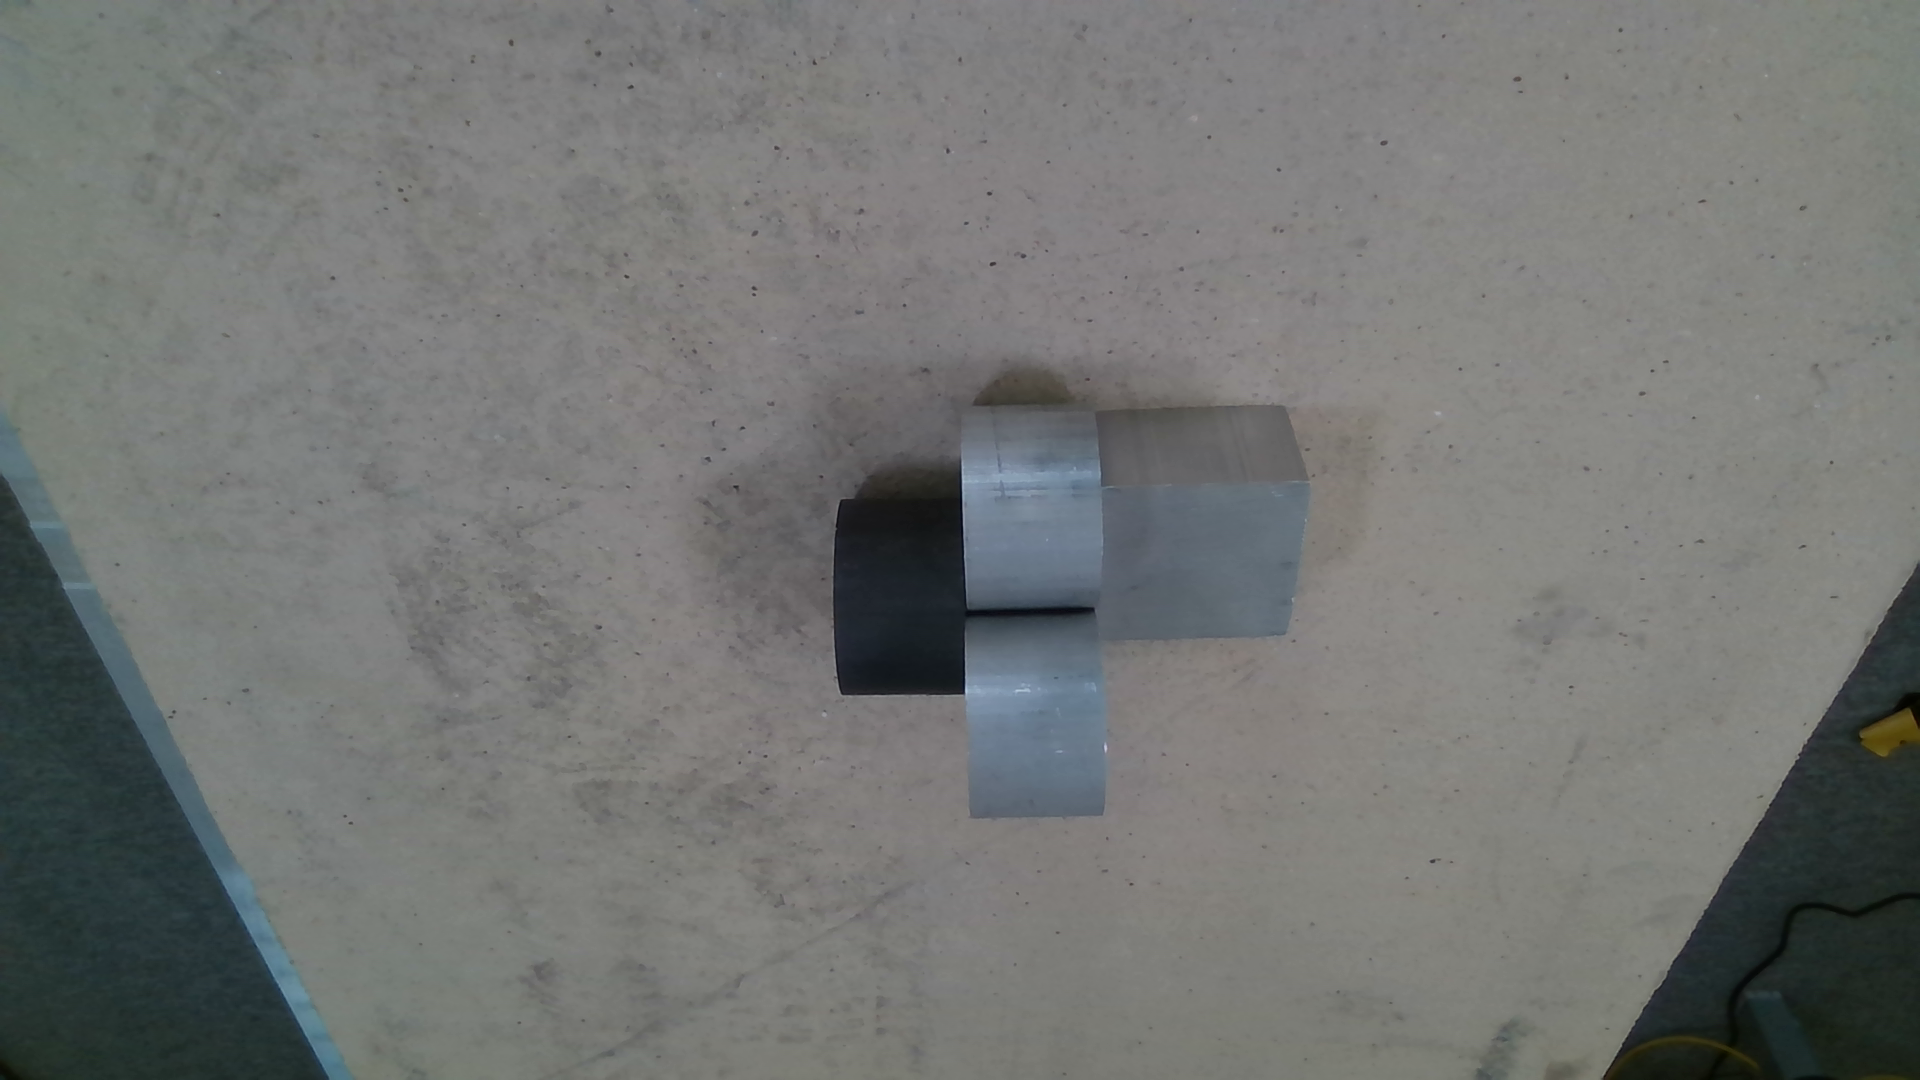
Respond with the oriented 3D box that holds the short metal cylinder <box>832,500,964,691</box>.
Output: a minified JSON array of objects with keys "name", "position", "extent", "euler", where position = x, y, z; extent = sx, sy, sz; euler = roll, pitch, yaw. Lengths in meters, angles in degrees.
[{"name":"short metal cylinder","position":[-0.024,0.022,0.564],"extent":[0.050,0.080,0.080],"euler":[0,130,0]}]

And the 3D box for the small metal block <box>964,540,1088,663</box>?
[{"name":"small metal block","position":[0.027,0.026,0.588],"extent":[0.050,0.050,0.025],"euler":[1,130,-1]}]

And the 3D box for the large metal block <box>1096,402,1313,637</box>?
[{"name":"large metal block","position":[0.093,-0.007,0.558],"extent":[0.080,0.050,0.080],"euler":[-1,130,1]}]

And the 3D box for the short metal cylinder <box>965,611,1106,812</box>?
[{"name":"short metal cylinder","position":[0.028,0.066,0.535],"extent":[0.050,0.080,0.080],"euler":[-2,130,1]}]

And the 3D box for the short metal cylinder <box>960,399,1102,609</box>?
[{"name":"short metal cylinder","position":[0.027,-0.014,0.533],"extent":[0.050,0.080,0.080],"euler":[-2,130,1]}]
